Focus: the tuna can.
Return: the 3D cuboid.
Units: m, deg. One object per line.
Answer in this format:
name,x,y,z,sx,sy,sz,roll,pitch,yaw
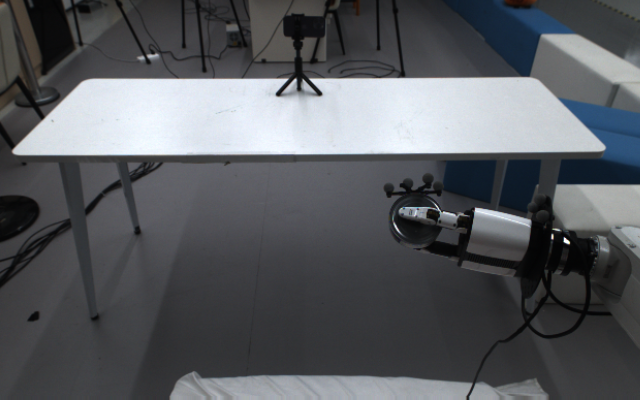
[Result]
tuna can,0.153,0.031,0.770,0.085,0.034,0.085,-3,66,7
